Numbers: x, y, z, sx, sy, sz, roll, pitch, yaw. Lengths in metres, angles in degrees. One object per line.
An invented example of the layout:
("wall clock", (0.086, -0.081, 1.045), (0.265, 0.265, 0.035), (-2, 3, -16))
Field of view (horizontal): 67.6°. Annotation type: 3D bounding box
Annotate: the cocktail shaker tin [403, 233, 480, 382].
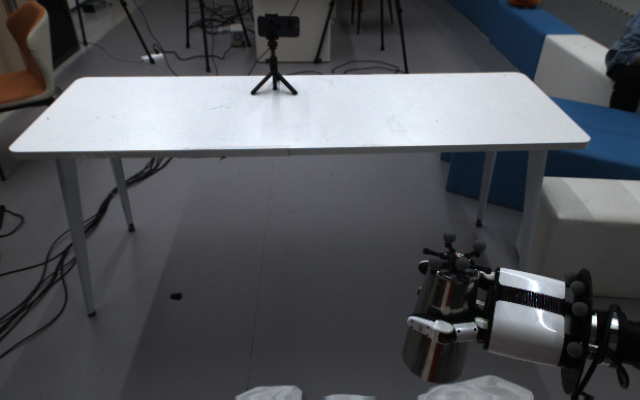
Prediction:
("cocktail shaker tin", (0.174, 0.158, 0.674), (0.093, 0.170, 0.093), (3, 30, -2))
